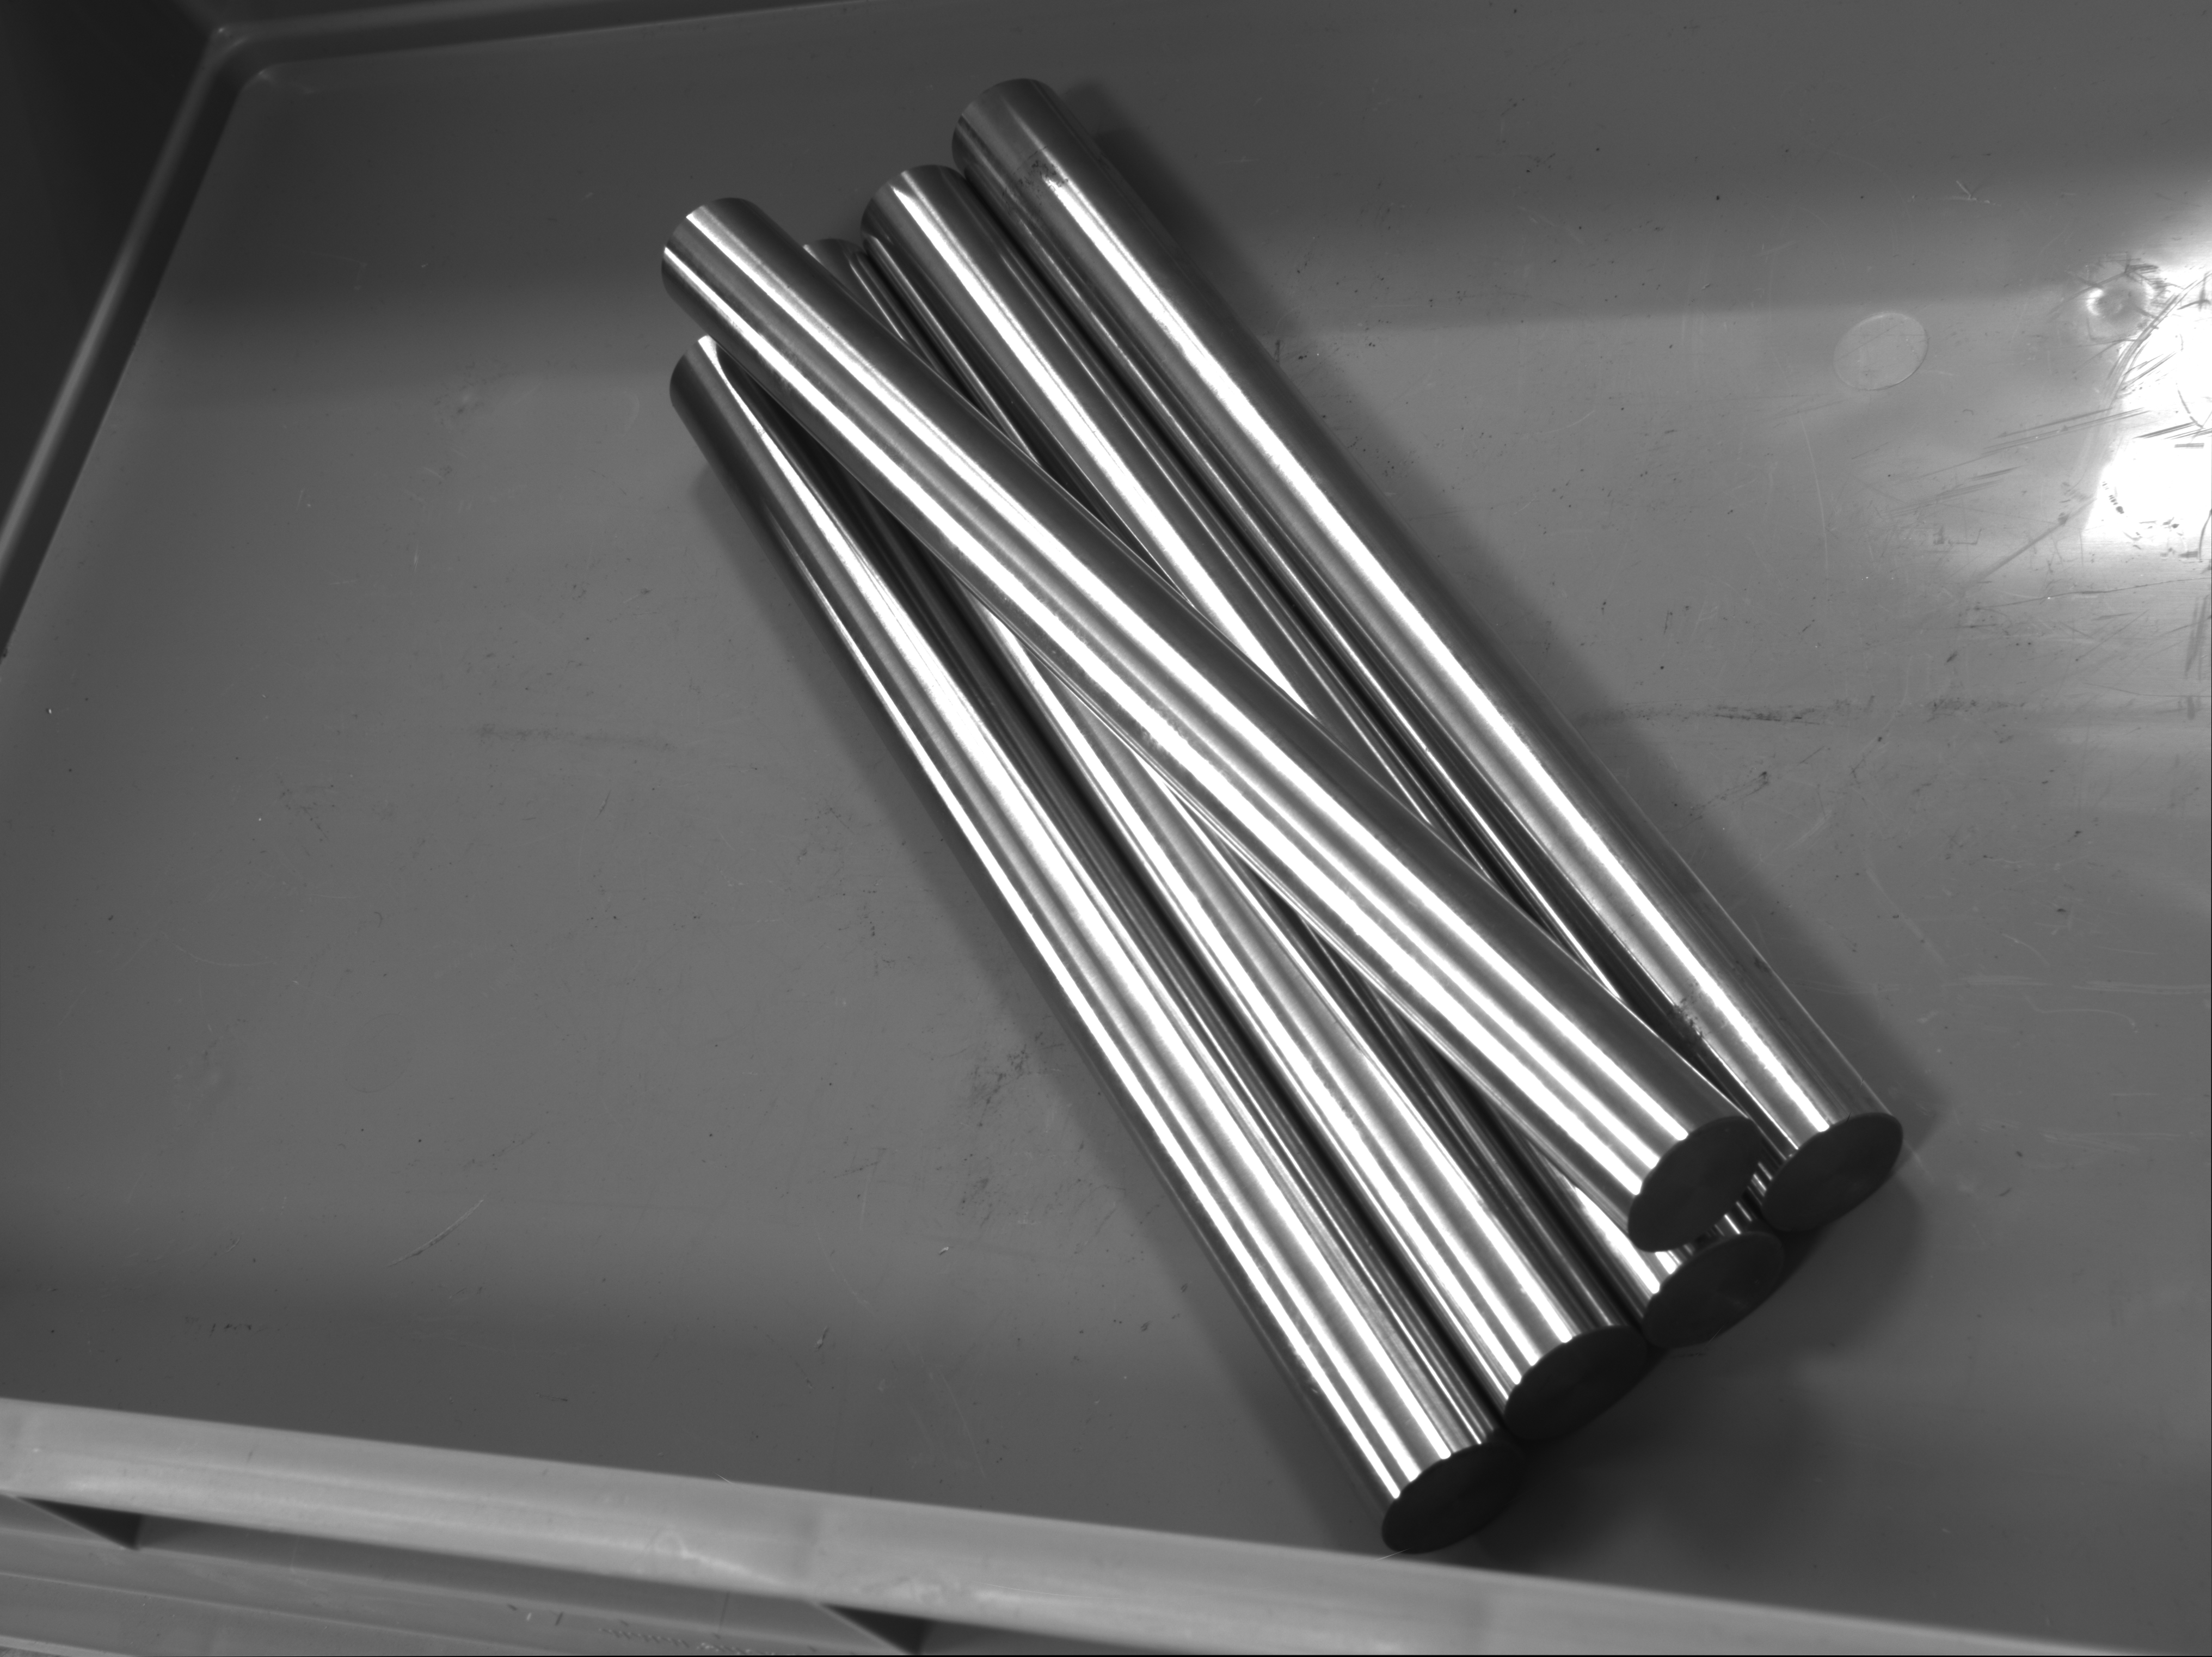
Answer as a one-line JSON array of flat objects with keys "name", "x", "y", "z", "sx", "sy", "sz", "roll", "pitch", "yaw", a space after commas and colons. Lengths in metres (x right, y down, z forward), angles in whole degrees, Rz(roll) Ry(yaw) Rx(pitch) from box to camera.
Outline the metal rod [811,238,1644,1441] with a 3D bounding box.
[{"name": "metal rod", "x": 0.006, "y": -0.012, "z": 0.648, "sx": 0.025, "sy": 0.025, "sz": 0.299, "roll": -37, "pitch": 51, "yaw": 4}]

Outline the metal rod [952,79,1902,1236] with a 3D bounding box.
[{"name": "metal rod", "x": 0.045, "y": -0.044, "z": 0.647, "sx": 0.025, "sy": 0.025, "sz": 0.299, "roll": -37, "pitch": 51, "yaw": 4}]

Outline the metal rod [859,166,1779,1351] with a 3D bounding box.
[{"name": "metal rod", "x": 0.026, "y": -0.027, "z": 0.646, "sx": 0.025, "sy": 0.025, "sz": 0.299, "roll": -37, "pitch": 51, "yaw": 4}]

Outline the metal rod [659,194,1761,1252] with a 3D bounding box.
[{"name": "metal rod", "x": 0.004, "y": -0.031, "z": 0.627, "sx": 0.025, "sy": 0.025, "sz": 0.299, "roll": -43, "pitch": 51, "yaw": -2}]

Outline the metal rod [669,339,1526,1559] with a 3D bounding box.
[{"name": "metal rod", "x": -0.012, "y": 0.005, "z": 0.647, "sx": 0.025, "sy": 0.025, "sz": 0.299, "roll": -37, "pitch": 51, "yaw": 4}]
